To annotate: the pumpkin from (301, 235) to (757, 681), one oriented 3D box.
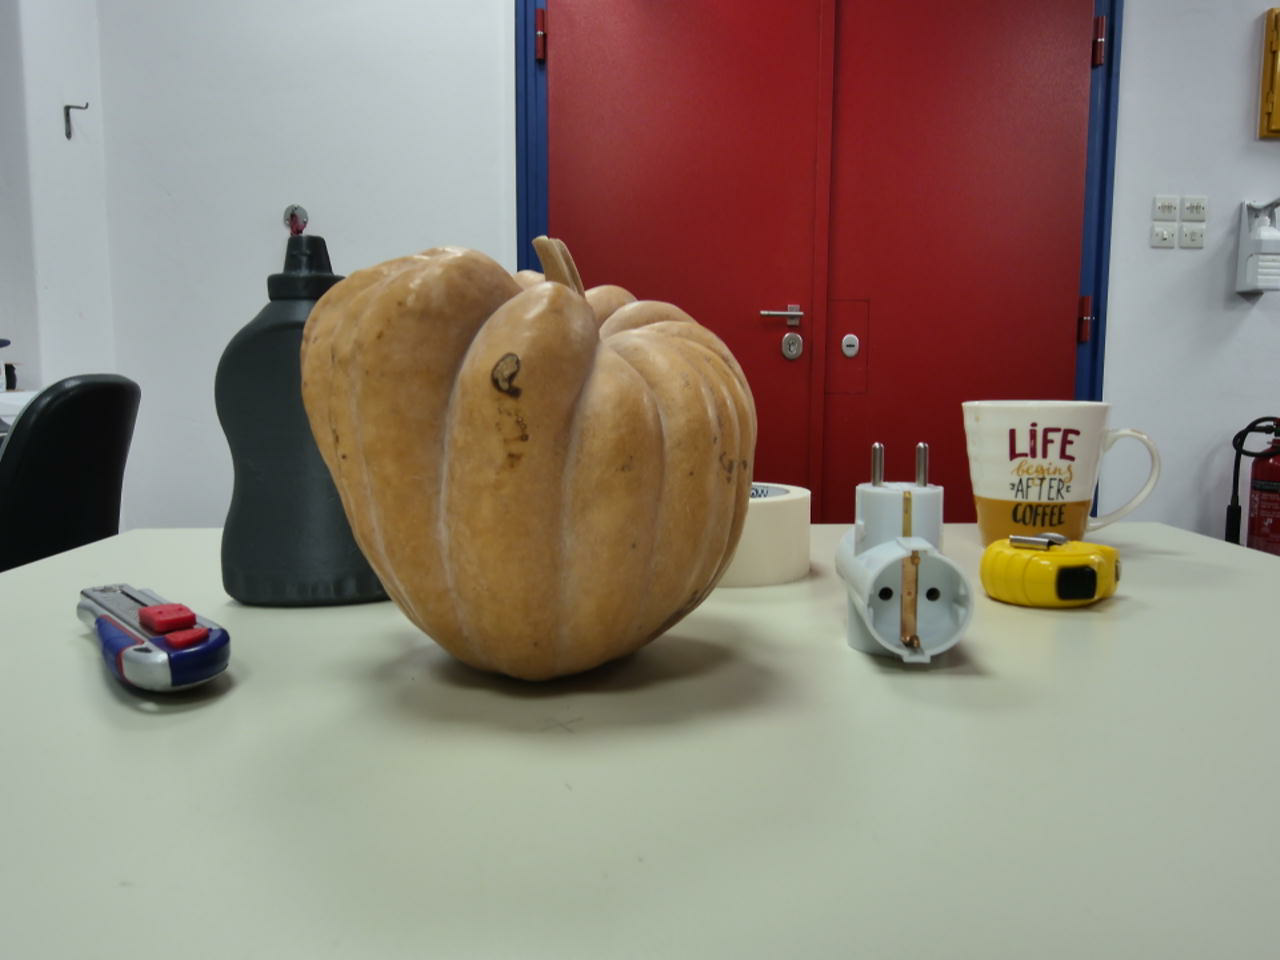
[{"bbox_3d":[-0.044,-0.011,0.420,0.199,0.177,0.198,0,4,0],"label":"pumpkin"}]
